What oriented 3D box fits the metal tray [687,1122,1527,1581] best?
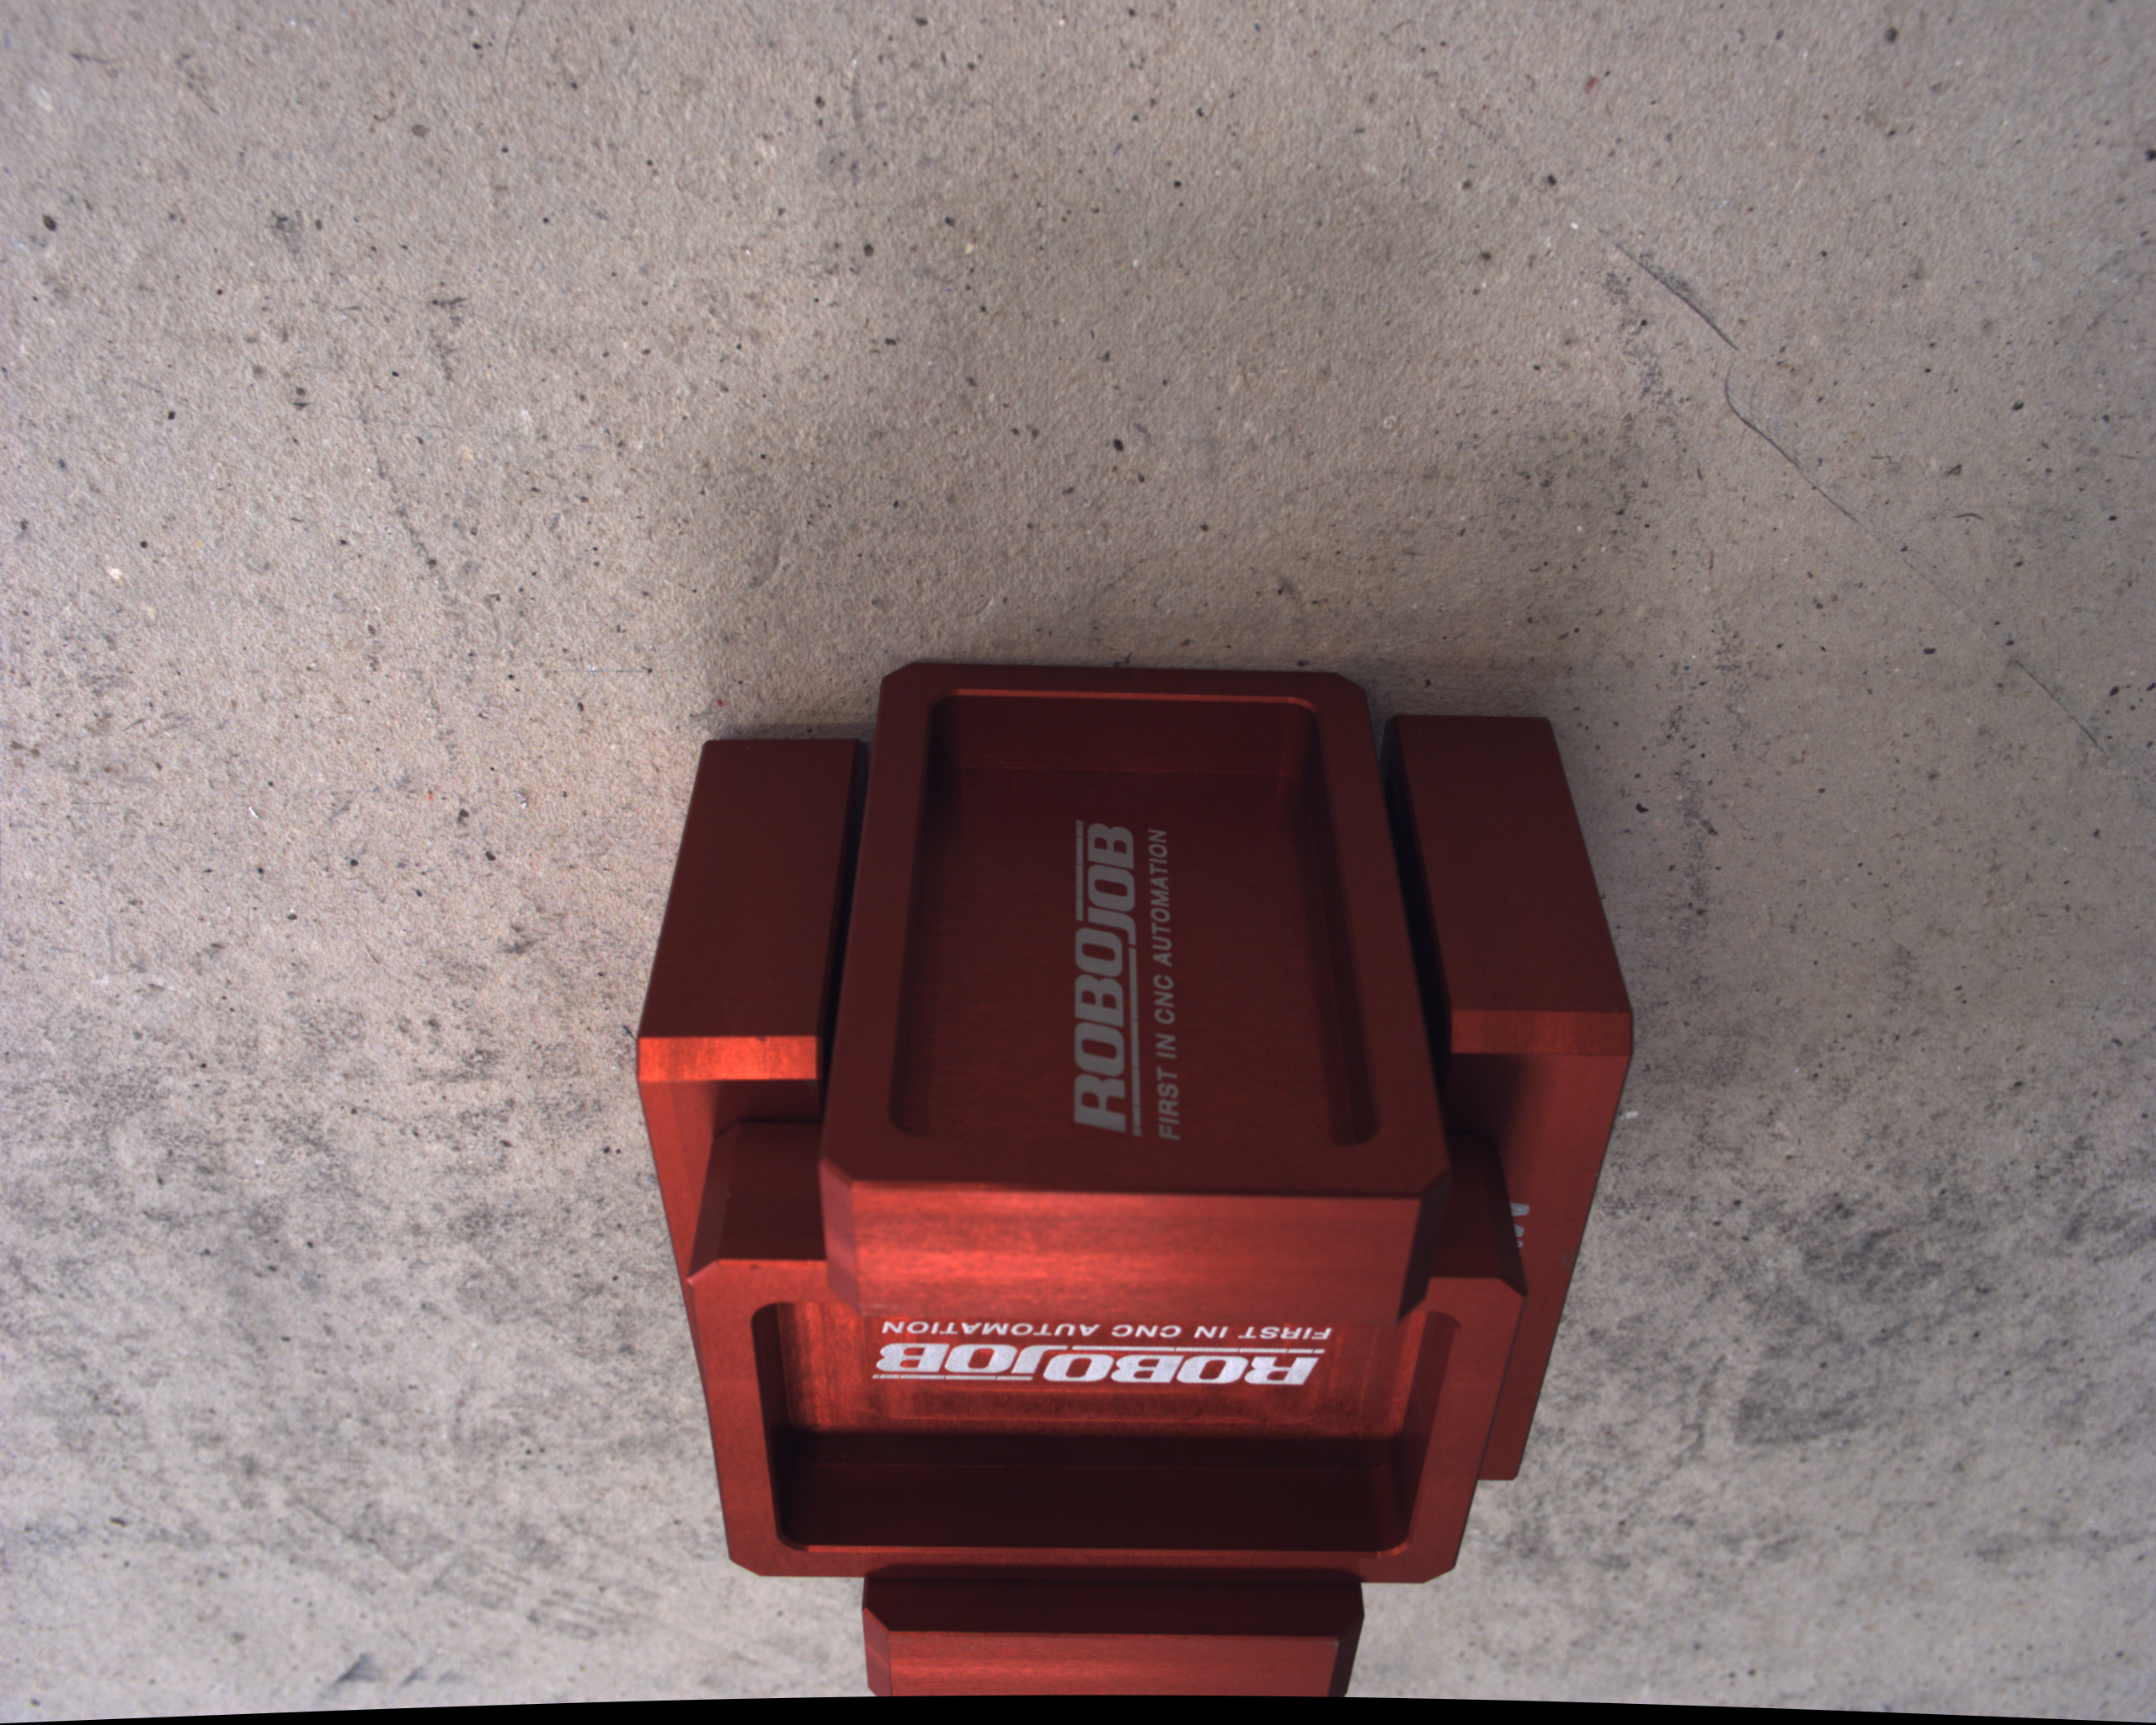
[{"bbox_3d":[0.004,0.087,0.361,0.131,0.030,0.089,1,131,-1],"label":"metal tray"}]

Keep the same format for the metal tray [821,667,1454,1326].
[{"bbox_3d":[0.008,0.016,0.353,0.091,0.130,0.030,1,130,-2],"label":"metal tray"}]

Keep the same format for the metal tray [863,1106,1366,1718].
[{"bbox_3d":[0.006,0.107,0.430,0.091,0.130,0.030,1,131,-1],"label":"metal tray"}]

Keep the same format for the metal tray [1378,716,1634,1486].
[{"bbox_3d":[0.073,0.048,0.407,0.030,0.090,0.129,2,129,0],"label":"metal tray"}]

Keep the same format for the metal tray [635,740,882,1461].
[{"bbox_3d":[-0.056,0.052,0.409,0.030,0.090,0.129,-1,130,0],"label":"metal tray"}]
